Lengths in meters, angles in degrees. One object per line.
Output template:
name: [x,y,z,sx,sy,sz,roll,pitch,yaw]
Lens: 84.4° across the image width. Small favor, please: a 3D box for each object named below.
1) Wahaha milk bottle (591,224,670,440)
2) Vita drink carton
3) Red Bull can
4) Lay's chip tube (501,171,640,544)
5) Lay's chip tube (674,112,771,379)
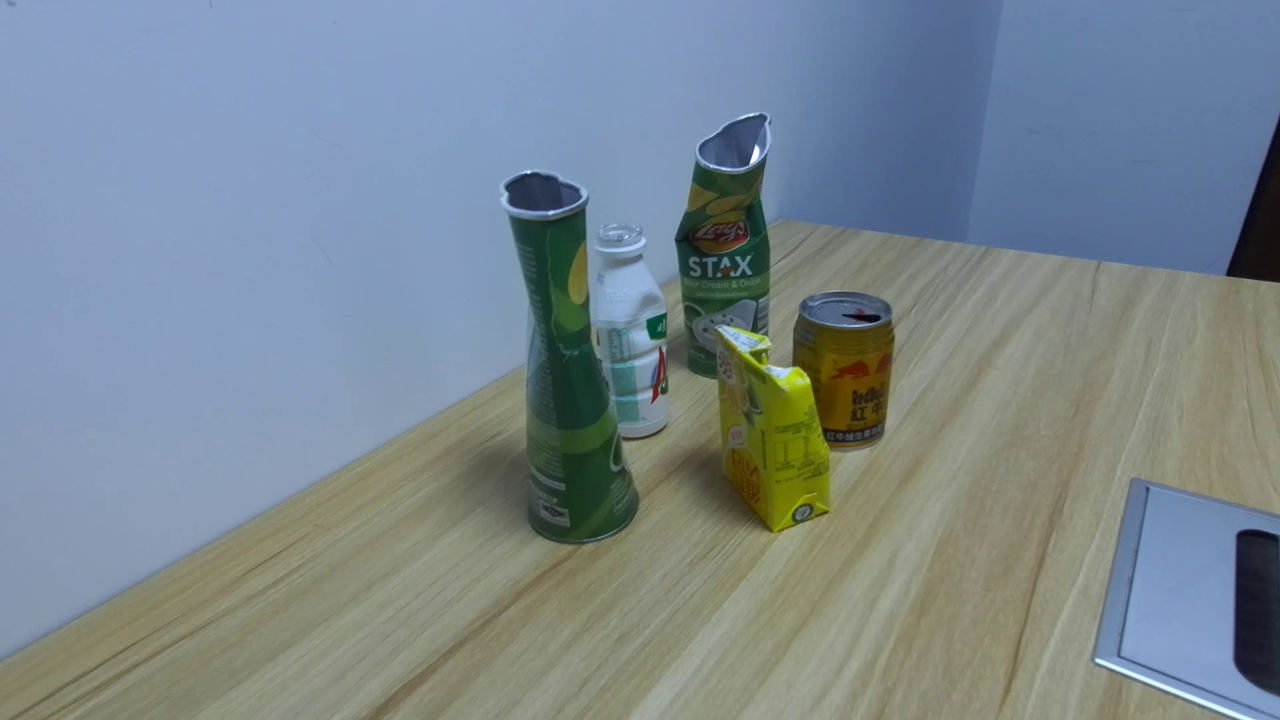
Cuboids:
Wahaha milk bottle: [-0.007,-0.018,0.486,0.055,0.149,0.055,-2,27,1]
Vita drink carton: [0.080,0.036,0.412,0.046,0.110,0.071,-15,29,-15]
Red Bull can: [0.137,0.007,0.481,0.067,0.093,0.067,-2,25,1]
Lay's chip tube: [-0.042,0.004,0.393,0.074,0.200,0.069,16,34,34]
Lay's chip tube: [0.070,-0.078,0.541,0.079,0.199,0.071,-13,35,-14]
